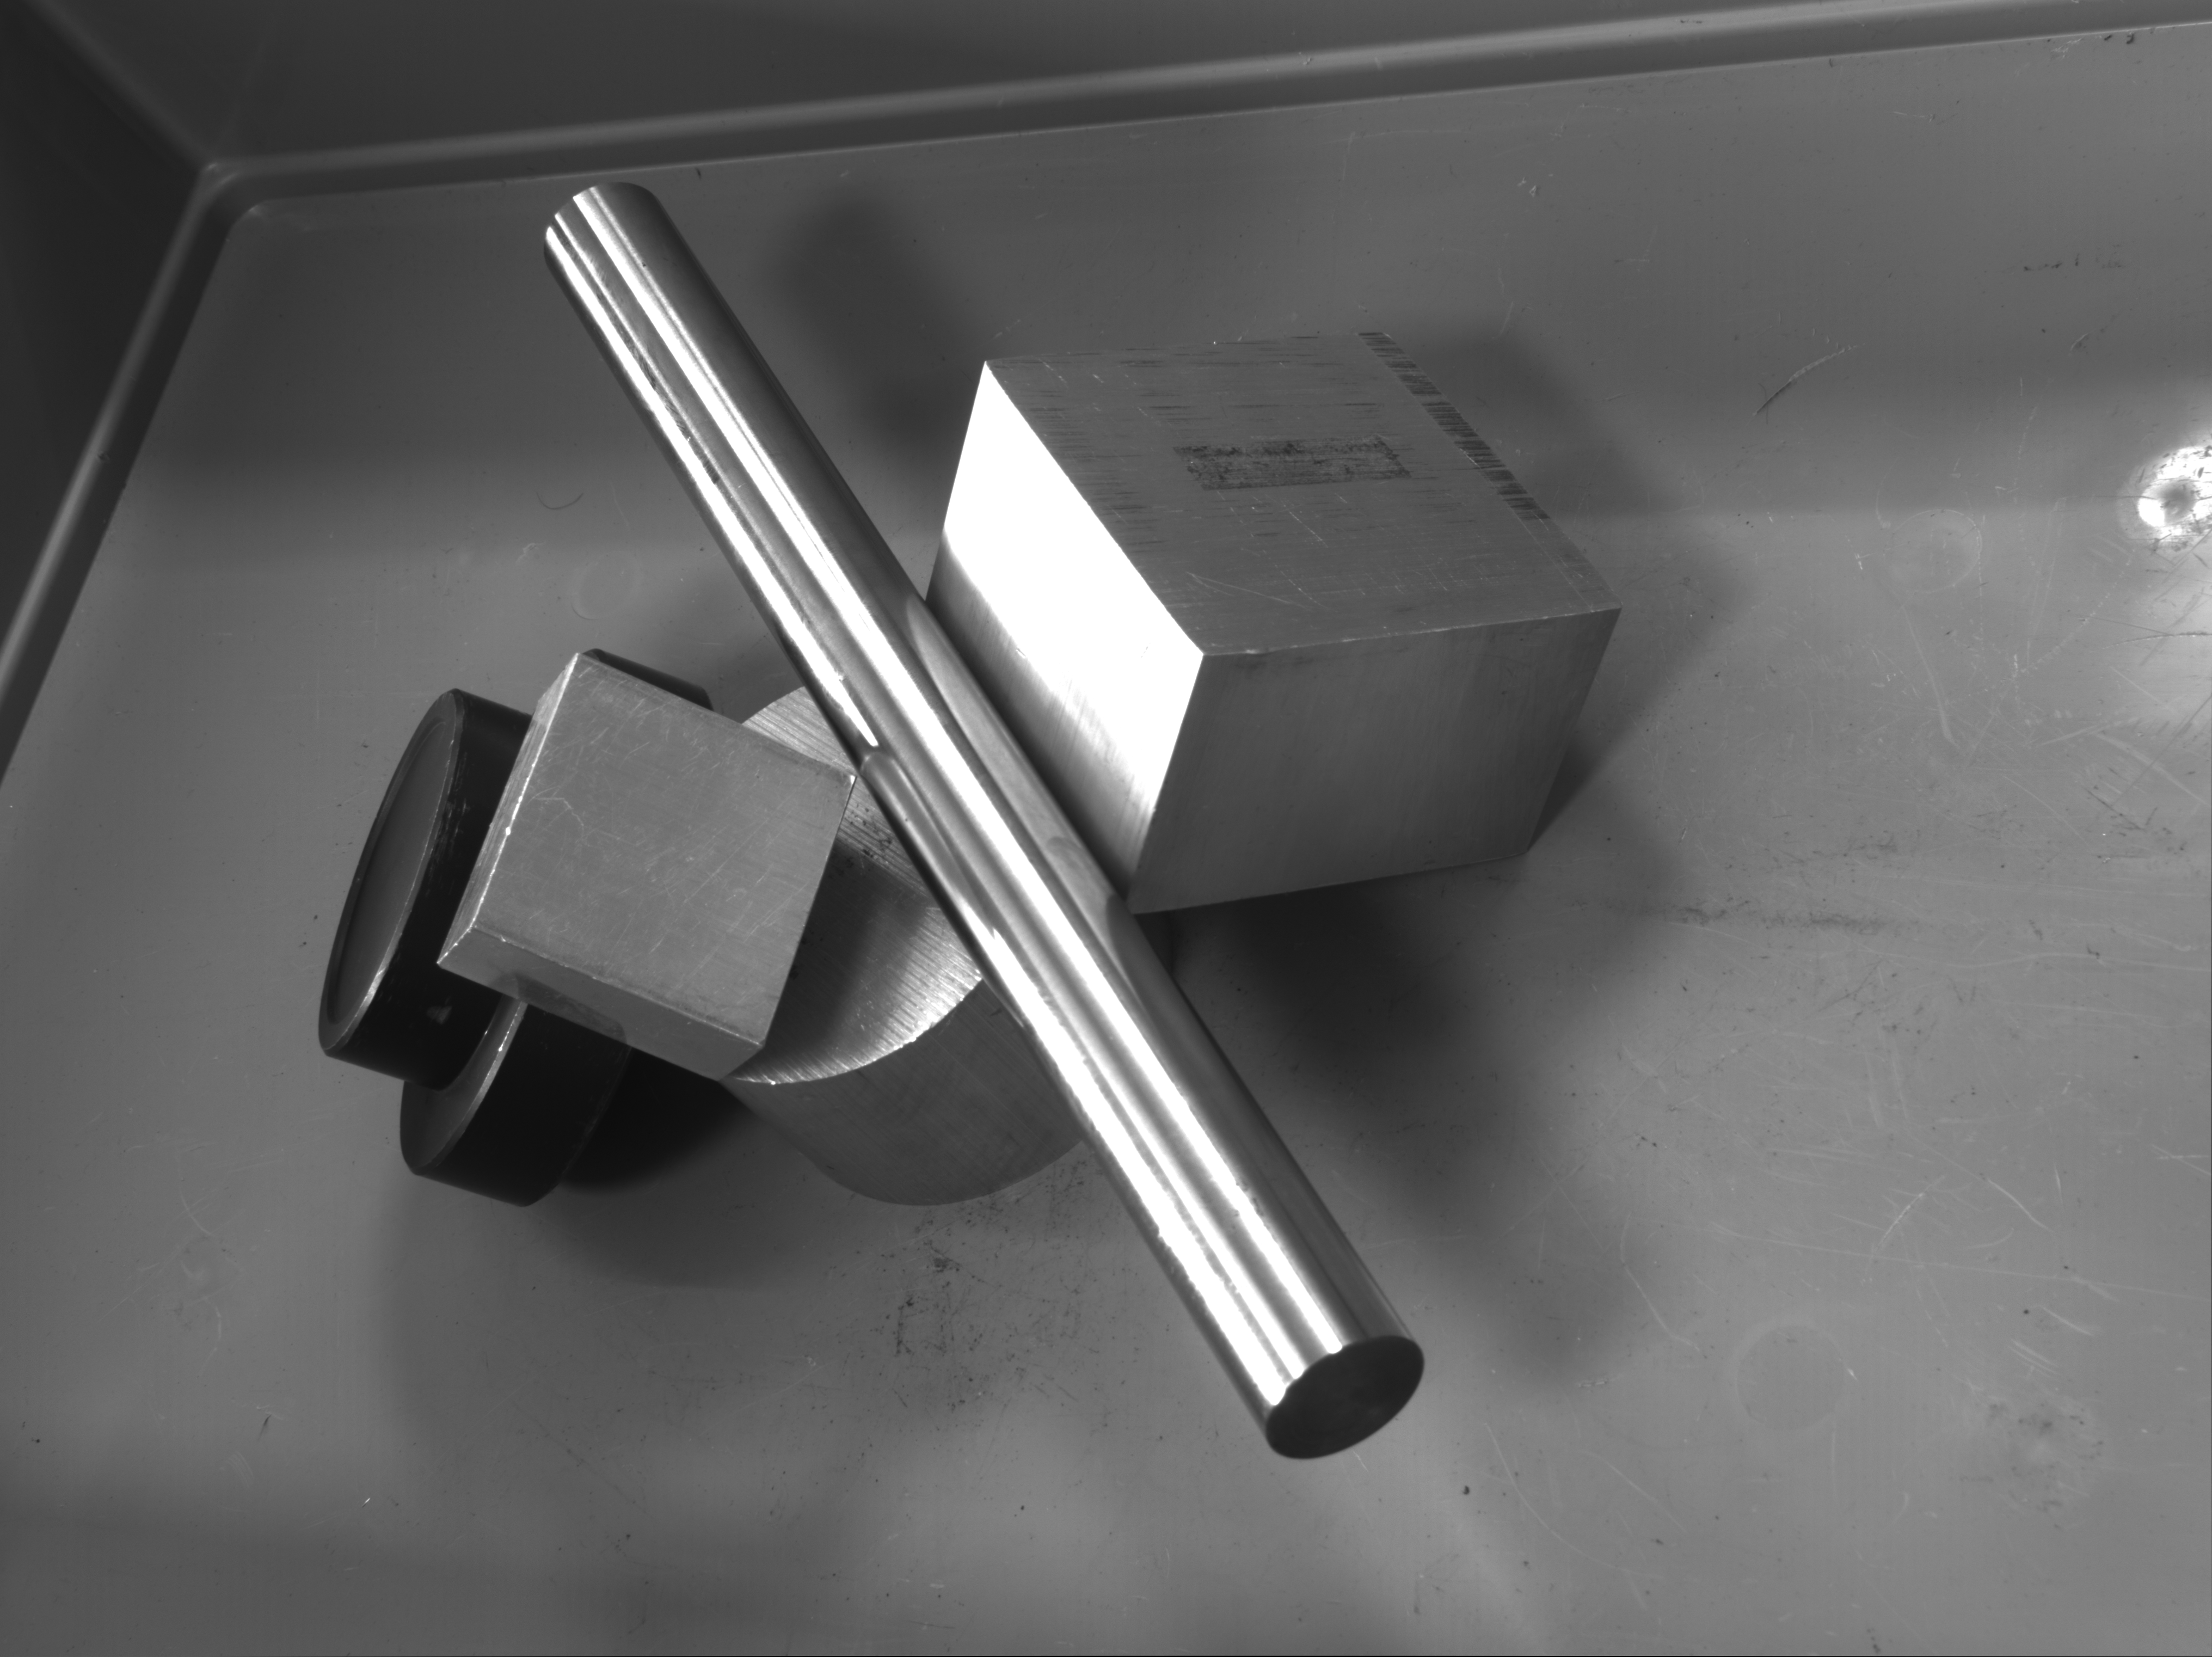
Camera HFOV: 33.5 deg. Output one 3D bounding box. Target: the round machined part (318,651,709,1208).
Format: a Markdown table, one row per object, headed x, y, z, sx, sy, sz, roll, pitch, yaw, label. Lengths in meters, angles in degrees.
| x | y | z | sx | sy | sz | roll | pitch | yaw | label |
| --- | --- | --- | --- | --- | --- | --- | --- | --- | --- |
| -0.107 | 0.014 | 0.649 | 0.098 | 0.042 | 0.098 | -53 | 26 | 40 | round machined part |

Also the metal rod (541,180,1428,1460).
| x | y | z | sx | sy | sz | roll | pitch | yaw | label |
| --- | --- | --- | --- | --- | --- | --- | --- | --- | --- |
| -0.031 | -0.017 | 0.606 | 0.025 | 0.025 | 0.299 | -37 | 51 | 4 | metal rod |

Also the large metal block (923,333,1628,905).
| x | y | z | sx | sy | sz | roll | pitch | yaw | label |
| --- | --- | --- | --- | --- | --- | --- | --- | --- | --- |
| 0.026 | -0.037 | 0.609 | 0.080 | 0.050 | 0.080 | -8 | 44 | -29 | large metal block |

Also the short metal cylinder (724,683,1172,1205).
| x | y | z | sx | sy | sz | roll | pitch | yaw | label |
| --- | --- | --- | --- | --- | --- | --- | --- | --- | --- |
| -0.035 | 0.018 | 0.635 | 0.080 | 0.050 | 0.080 | -14 | 56 | 21 | short metal cylinder |

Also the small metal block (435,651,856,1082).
| x | y | z | sx | sy | sz | roll | pitch | yaw | label |
| --- | --- | --- | --- | --- | --- | --- | --- | --- | --- |
| -0.074 | 0.007 | 0.596 | 0.025 | 0.050 | 0.050 | -35 | 35 | 62 | small metal block |
